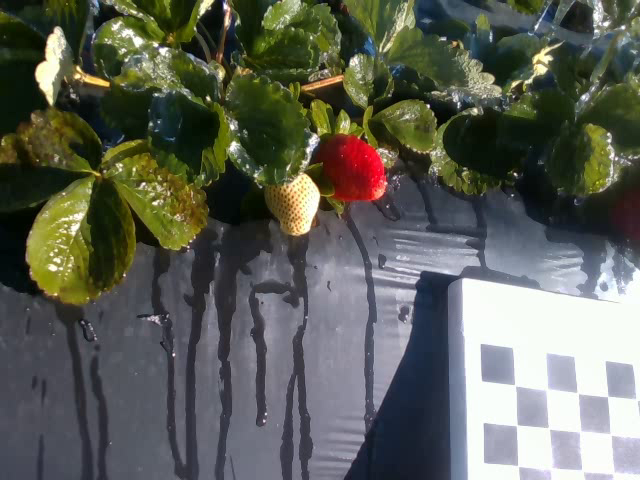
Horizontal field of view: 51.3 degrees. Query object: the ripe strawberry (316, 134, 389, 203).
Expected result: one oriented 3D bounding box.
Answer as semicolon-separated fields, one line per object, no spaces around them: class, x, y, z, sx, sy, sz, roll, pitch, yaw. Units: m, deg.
ripe strawberry;0.025;-0.037;0.405;0.042;0.046;0.061;-5;33;-21
